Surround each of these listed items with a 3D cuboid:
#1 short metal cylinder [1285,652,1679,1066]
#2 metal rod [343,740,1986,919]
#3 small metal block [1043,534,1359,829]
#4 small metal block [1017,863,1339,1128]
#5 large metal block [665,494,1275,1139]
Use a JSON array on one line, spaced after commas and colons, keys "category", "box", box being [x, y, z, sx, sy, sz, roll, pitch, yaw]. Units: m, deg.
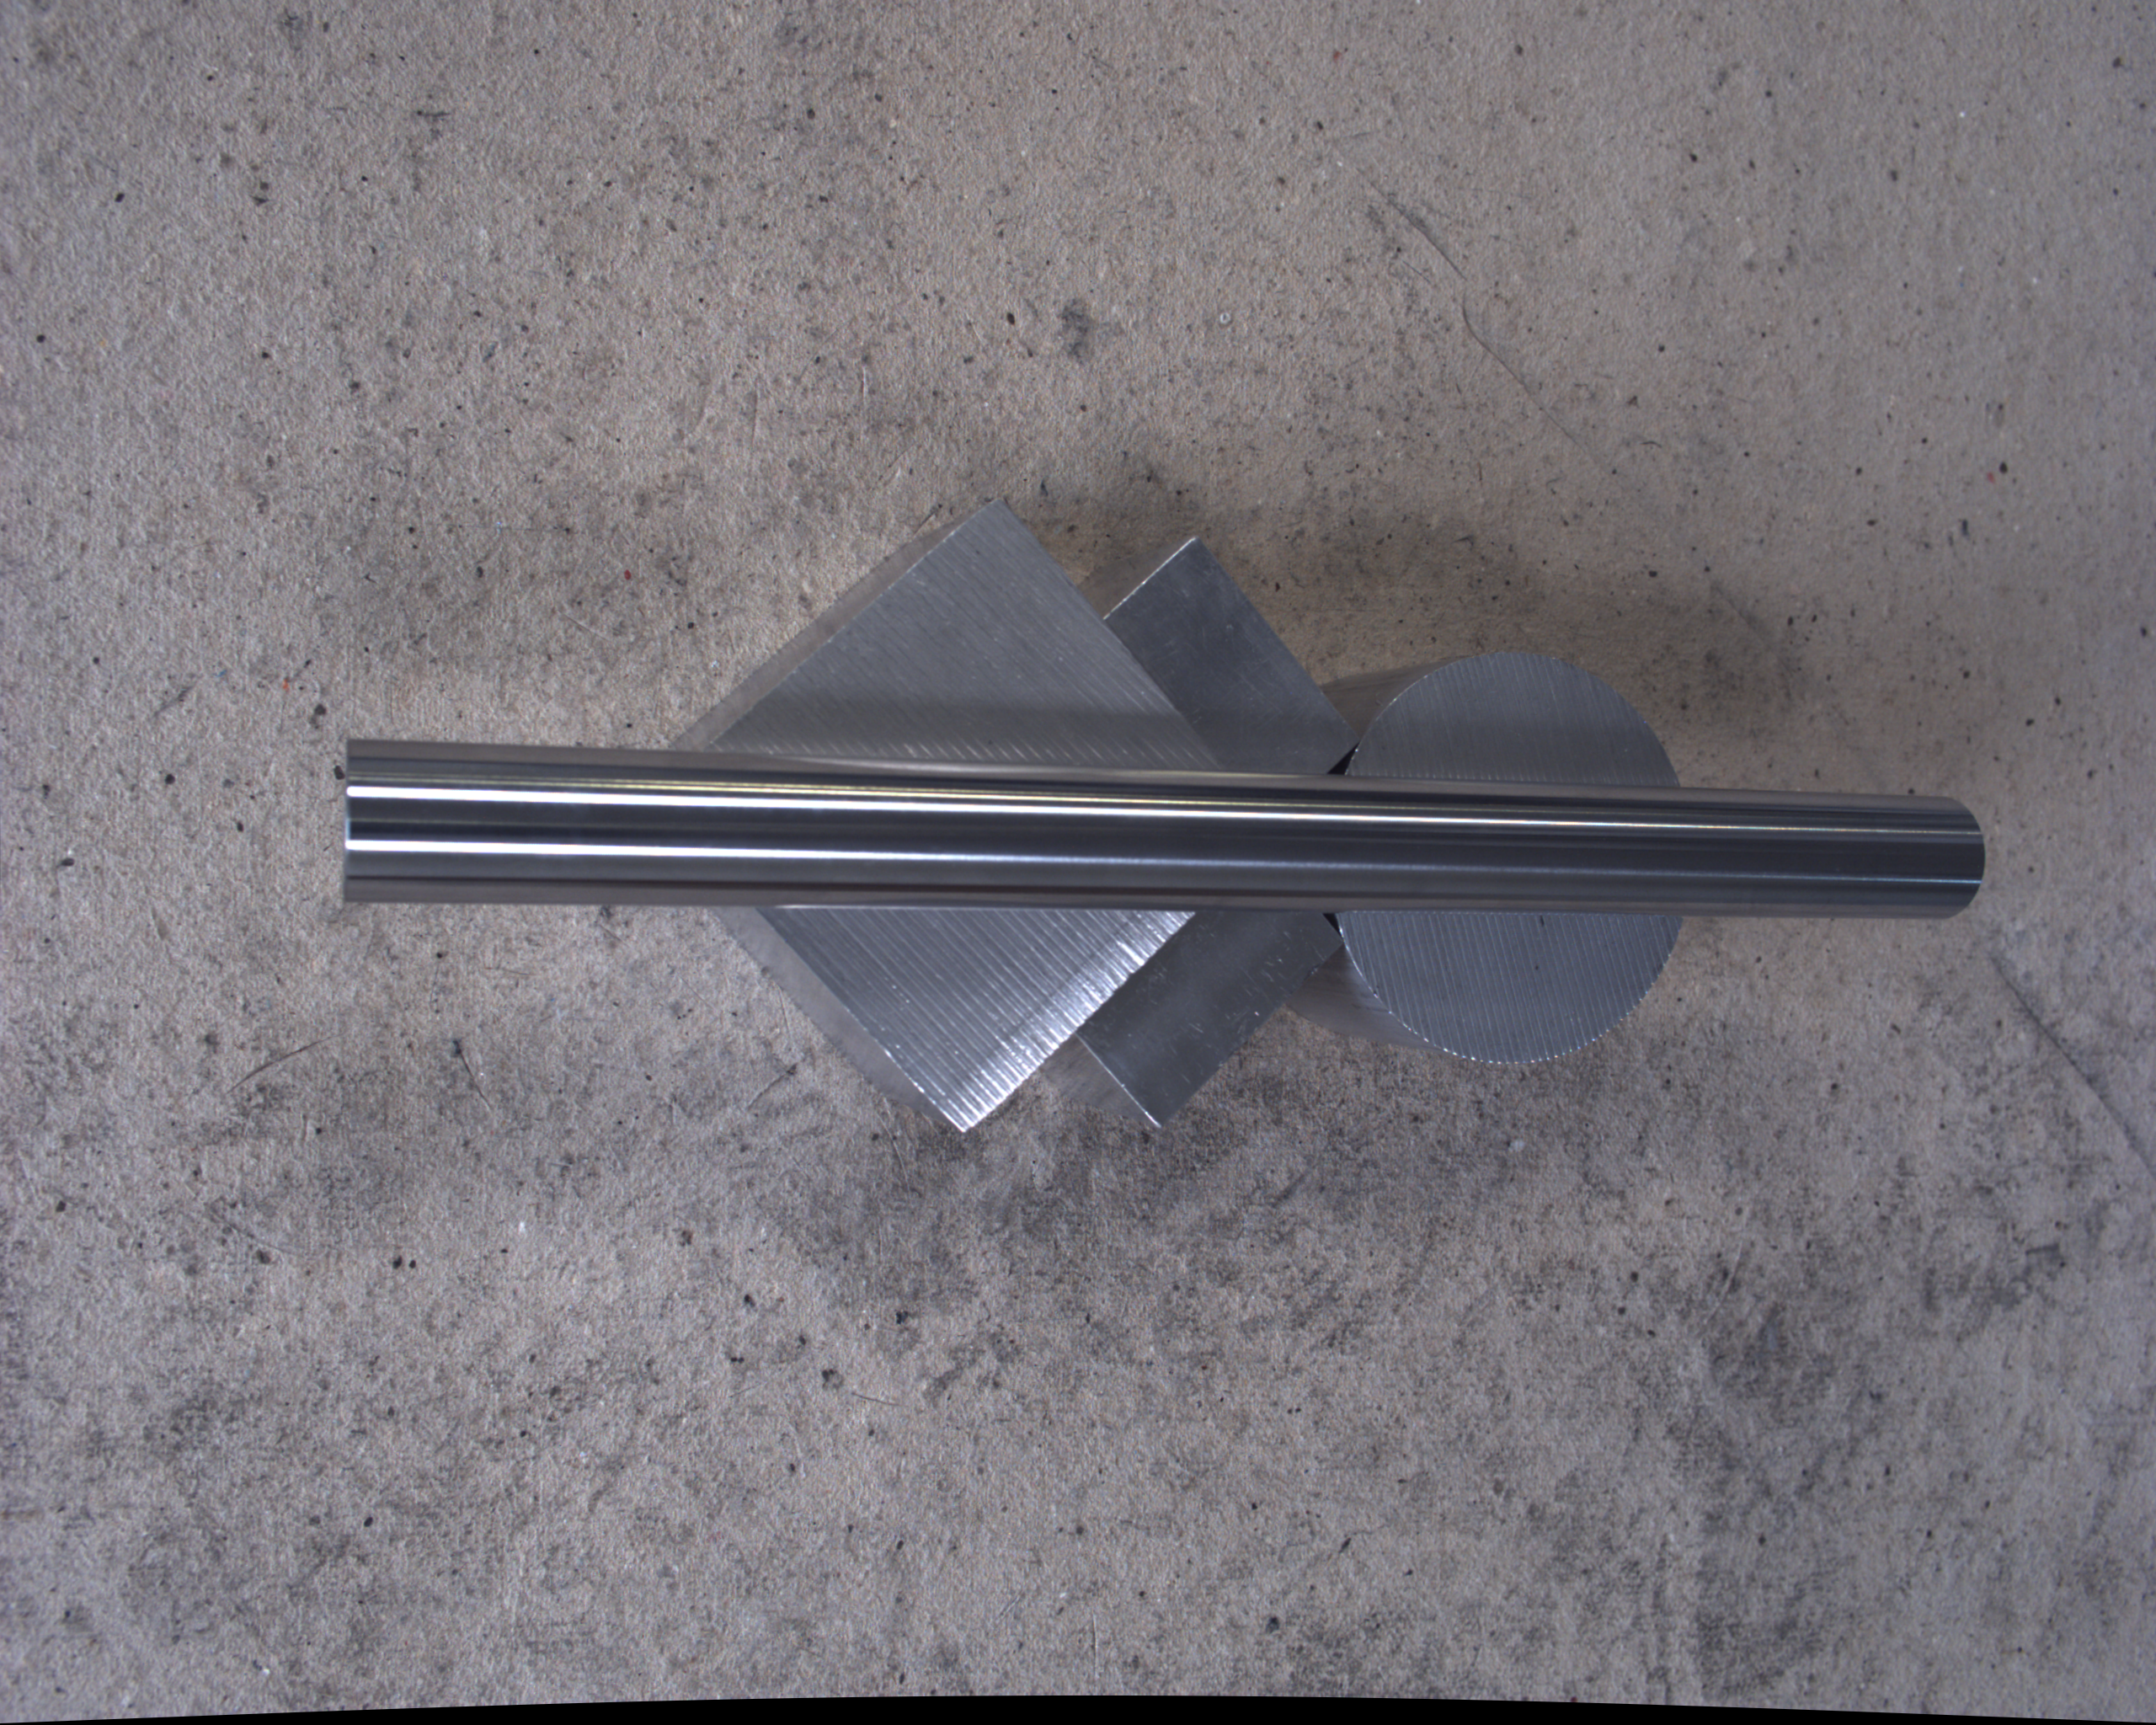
[{"category": "short metal cylinder", "box": [0.075, -0.001, 0.424, 0.081, 0.050, 0.080, 0, 90, -20]}, {"category": "metal rod", "box": [0.031, -0.004, 0.367, 0.302, 0.025, 0.025, 1, 90, -20]}, {"category": "small metal block", "box": [0.019, -0.033, 0.405, 0.025, 0.050, 0.050, -44, 105, -14]}, {"category": "small metal block", "box": [0.015, 0.022, 0.404, 0.050, 0.050, 0.025, -44, 104, -15]}, {"category": "large metal block", "box": [-0.026, -0.008, 0.386, 0.080, 0.050, 0.080, -44, 104, -15]}]
